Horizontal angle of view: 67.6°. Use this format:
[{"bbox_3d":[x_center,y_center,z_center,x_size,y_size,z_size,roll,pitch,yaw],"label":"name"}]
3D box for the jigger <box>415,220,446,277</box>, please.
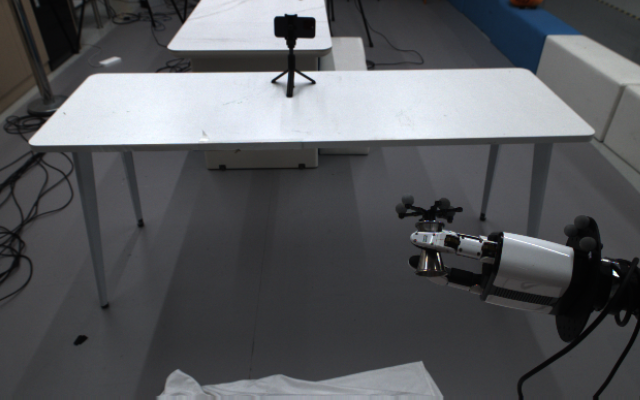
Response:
[{"bbox_3d":[0.147,0.064,0.648,0.043,0.043,0.071,3,72,1],"label":"jigger"}]
